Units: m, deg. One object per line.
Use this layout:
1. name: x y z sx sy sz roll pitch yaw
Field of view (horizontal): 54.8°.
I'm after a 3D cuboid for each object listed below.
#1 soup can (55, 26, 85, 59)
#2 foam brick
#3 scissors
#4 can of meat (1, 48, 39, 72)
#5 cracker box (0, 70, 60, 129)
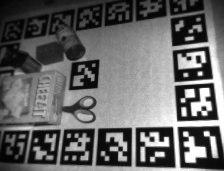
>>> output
1. soup can: -0.146 -0.147 0.738 0.068 0.069 0.101 -39 60 3
2. foam brick: -0.224 -0.115 0.754 0.077 0.052 0.052 -14 70 13
3. scissors: -0.160 0.080 0.678 0.201 0.016 0.087 -9 71 15
4. can of meat: -0.322 -0.083 0.754 0.101 0.084 0.058 10 77 21
5. cracker box: -0.279 0.045 0.693 0.212 0.073 0.163 -10 70 19
